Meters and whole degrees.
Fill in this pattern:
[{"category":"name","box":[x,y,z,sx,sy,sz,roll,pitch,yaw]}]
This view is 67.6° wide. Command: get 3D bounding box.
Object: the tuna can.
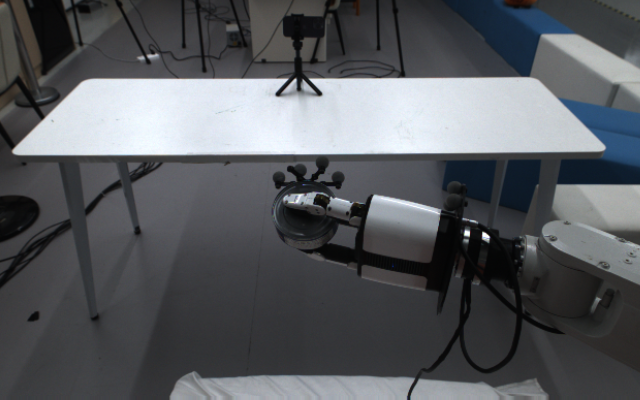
[{"category":"tuna can","box":[-0.016,0.024,0.617,0.085,0.034,0.085,-1,58,2]}]
